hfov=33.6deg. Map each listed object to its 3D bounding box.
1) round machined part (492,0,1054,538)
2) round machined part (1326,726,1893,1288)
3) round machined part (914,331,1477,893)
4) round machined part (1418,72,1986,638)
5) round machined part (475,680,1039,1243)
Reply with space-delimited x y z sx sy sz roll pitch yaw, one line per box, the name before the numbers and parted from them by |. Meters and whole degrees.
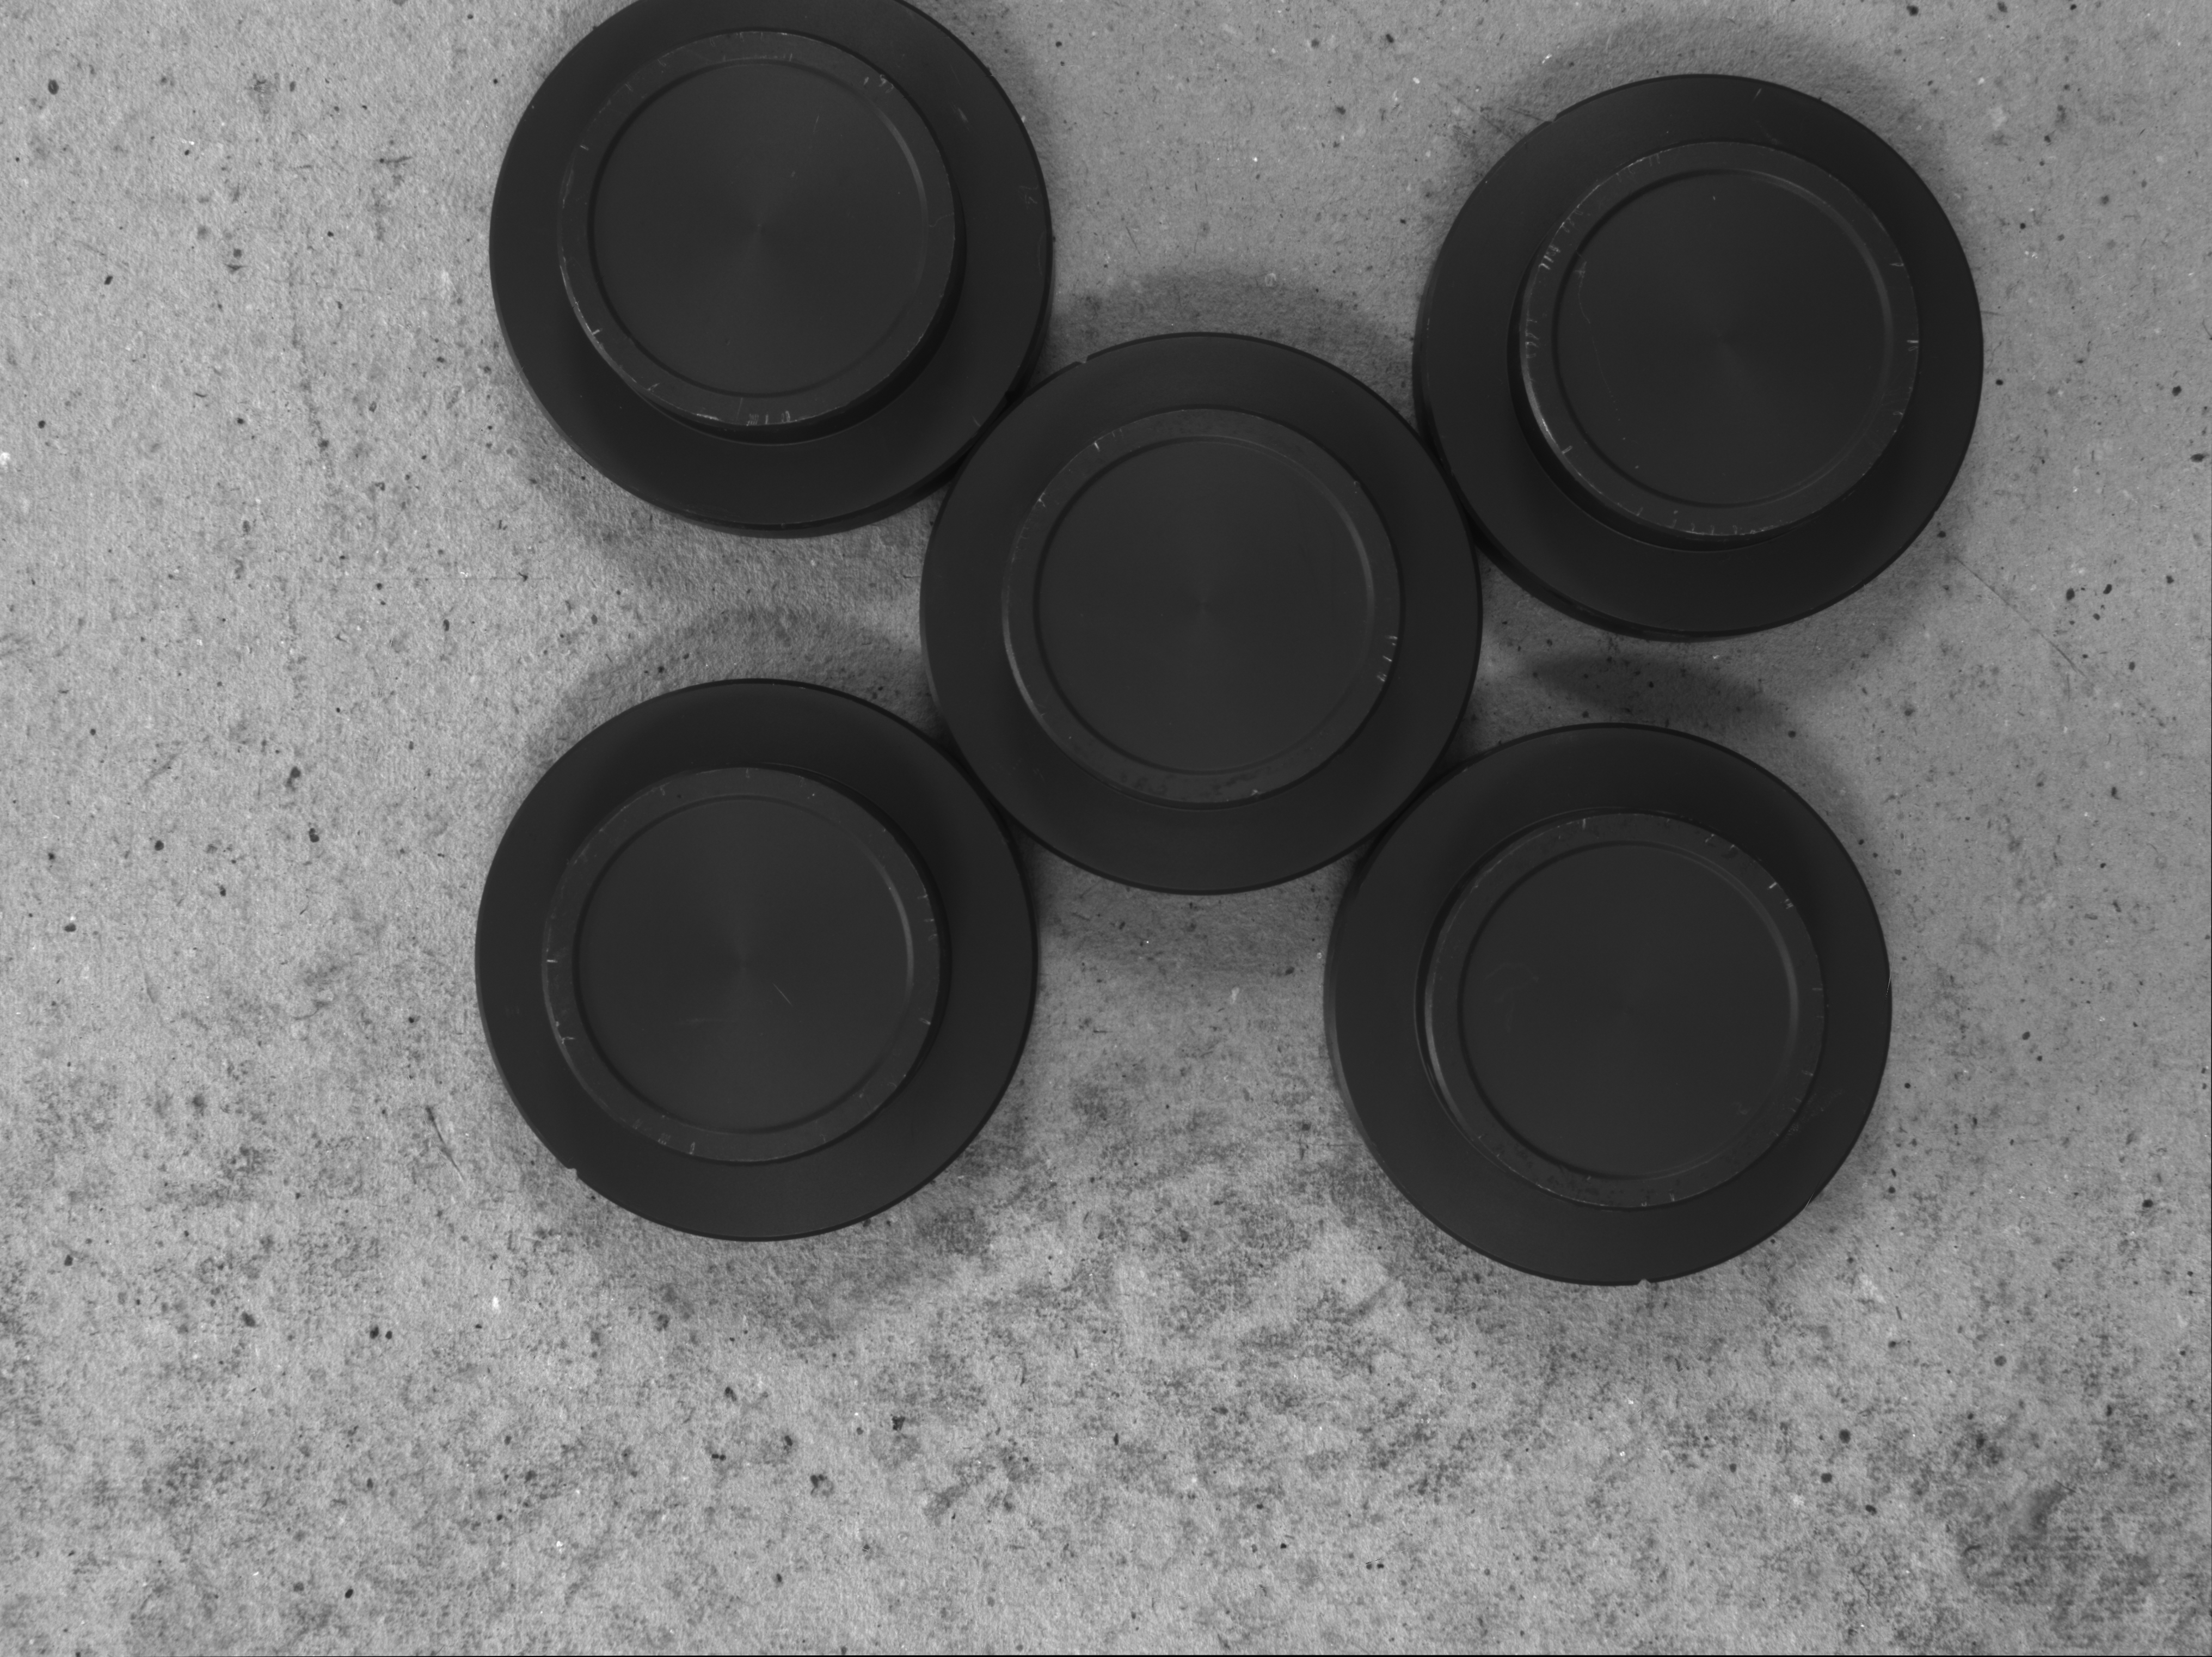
round machined part | -0.058 -0.101 0.637 0.098 0.042 0.098 0 90 0
round machined part | 0.088 0.031 0.637 0.098 0.042 0.098 0 91 1
round machined part | 0.016 -0.038 0.637 0.098 0.042 0.098 0 91 1
round machined part | 0.104 -0.082 0.636 0.098 0.042 0.098 0 91 1
round machined part | -0.061 0.023 0.636 0.098 0.042 0.098 0 91 0
